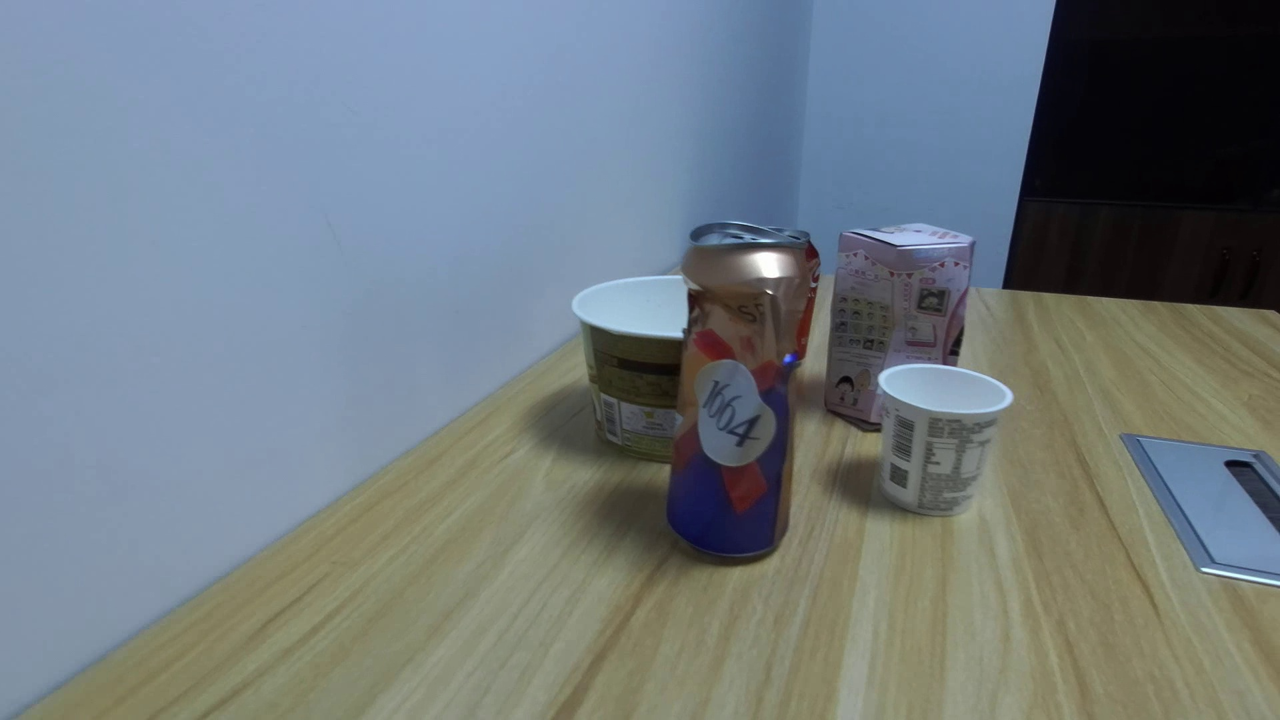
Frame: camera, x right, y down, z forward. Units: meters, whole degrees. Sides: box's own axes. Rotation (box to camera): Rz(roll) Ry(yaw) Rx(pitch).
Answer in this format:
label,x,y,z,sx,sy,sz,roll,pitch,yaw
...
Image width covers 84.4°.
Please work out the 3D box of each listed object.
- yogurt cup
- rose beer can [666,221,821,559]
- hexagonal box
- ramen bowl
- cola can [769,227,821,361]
label,x,y,z,sx,sy,sz,roll,pitch,yaw
yogurt cup,0.168,0.046,0.405,0.072,0.068,0.072,0,22,0
rose beer can,0.047,0.017,0.353,0.073,0.162,0.068,14,22,28
hexagonal box,0.182,-0.024,0.500,0.093,0.134,0.088,-2,21,-8
ramen bowl,0.026,0.004,0.478,0.140,0.095,0.140,-1,20,1
cola can,0.110,-0.051,0.590,0.067,0.117,0.065,-15,25,-36
